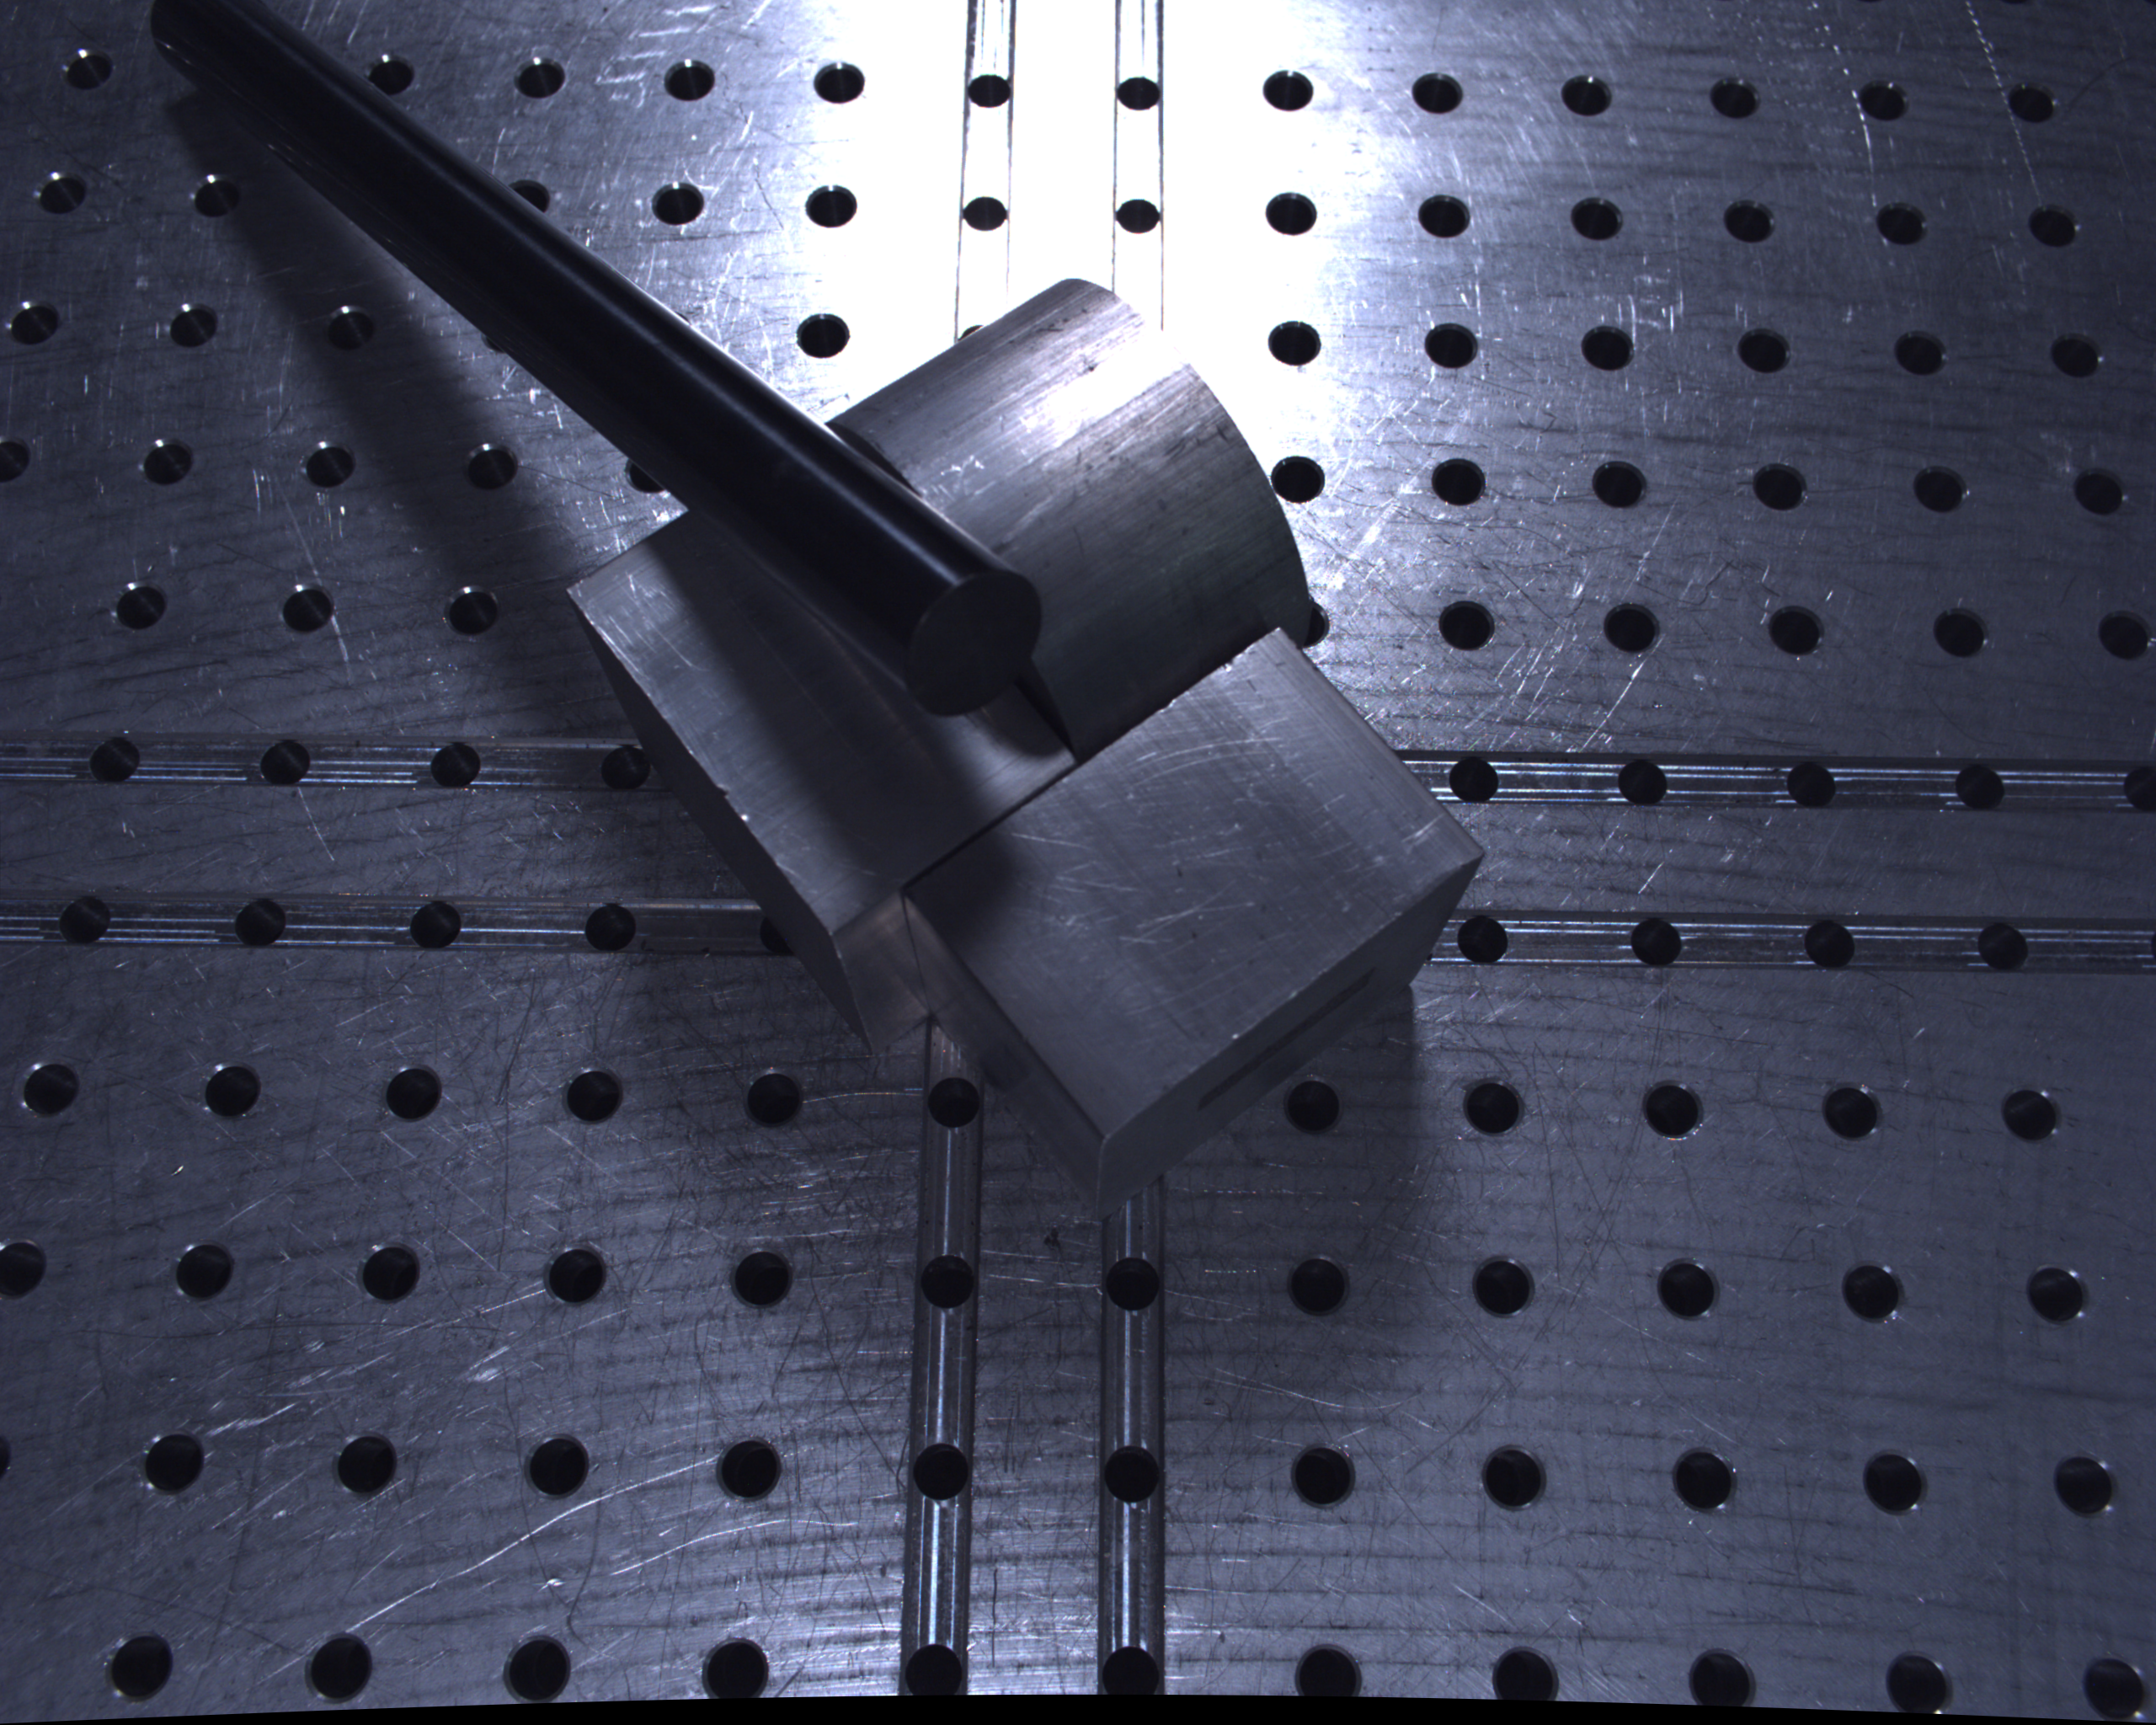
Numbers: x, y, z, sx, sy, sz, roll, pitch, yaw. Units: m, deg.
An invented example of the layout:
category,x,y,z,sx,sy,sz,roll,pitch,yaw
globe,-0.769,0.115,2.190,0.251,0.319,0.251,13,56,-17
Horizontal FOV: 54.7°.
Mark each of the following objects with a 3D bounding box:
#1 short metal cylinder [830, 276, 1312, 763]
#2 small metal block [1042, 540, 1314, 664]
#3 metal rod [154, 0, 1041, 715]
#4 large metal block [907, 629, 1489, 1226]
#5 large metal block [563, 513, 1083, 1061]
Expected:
category,x,y,z,sx,sy,sz,roll,pitch,yaw
short metal cylinder,-0.003,-0.057,0.376,0.050,0.080,0.080,-35,74,-12
small metal block,0.012,-0.050,0.431,0.050,0.025,0.050,-40,75,-14
metal rod,-0.108,-0.113,0.396,0.025,0.025,0.300,-40,54,-13
large metal block,0.020,0.015,0.375,0.080,0.080,0.050,-36,74,-12
large metal block,-0.044,-0.018,0.389,0.050,0.080,0.080,-36,74,-12
